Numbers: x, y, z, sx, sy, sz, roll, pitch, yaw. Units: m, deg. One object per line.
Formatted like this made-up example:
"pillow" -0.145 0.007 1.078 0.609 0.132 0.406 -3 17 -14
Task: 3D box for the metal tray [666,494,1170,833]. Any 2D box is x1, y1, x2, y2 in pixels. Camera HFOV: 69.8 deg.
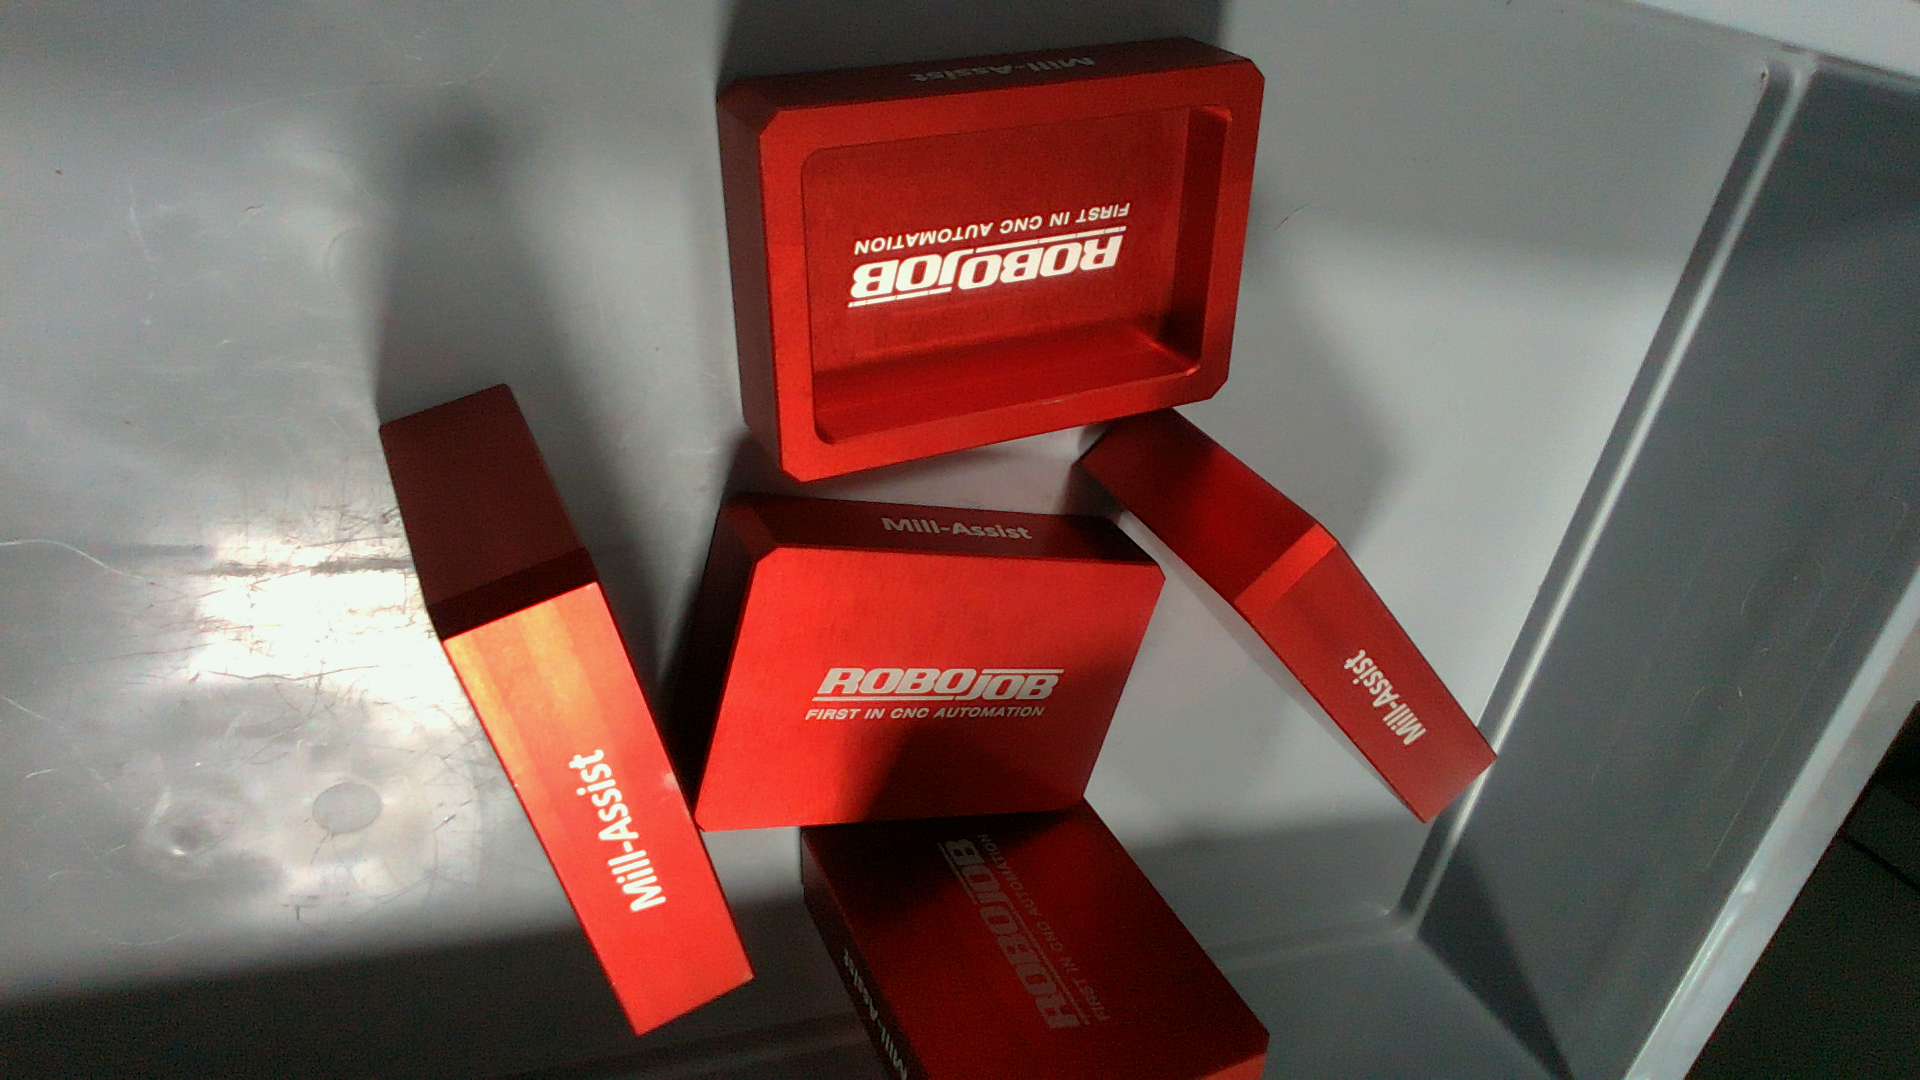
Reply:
"metal tray" -0.011 0.037 0.399 0.130 0.030 0.090 3 117 -30

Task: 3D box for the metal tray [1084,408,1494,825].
"metal tray" 0.099 0.022 0.412 0.030 0.090 0.130 -44 129 3

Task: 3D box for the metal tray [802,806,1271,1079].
"metal tray" 0.017 0.125 0.404 0.090 0.130 0.030 -12 124 -22

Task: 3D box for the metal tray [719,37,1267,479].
"metal tray" 0.010 -0.072 0.345 0.130 0.030 0.090 -13 124 -21

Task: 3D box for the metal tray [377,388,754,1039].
"metal tray" -0.091 0.041 0.321 0.030 0.090 0.130 -23 127 -15
